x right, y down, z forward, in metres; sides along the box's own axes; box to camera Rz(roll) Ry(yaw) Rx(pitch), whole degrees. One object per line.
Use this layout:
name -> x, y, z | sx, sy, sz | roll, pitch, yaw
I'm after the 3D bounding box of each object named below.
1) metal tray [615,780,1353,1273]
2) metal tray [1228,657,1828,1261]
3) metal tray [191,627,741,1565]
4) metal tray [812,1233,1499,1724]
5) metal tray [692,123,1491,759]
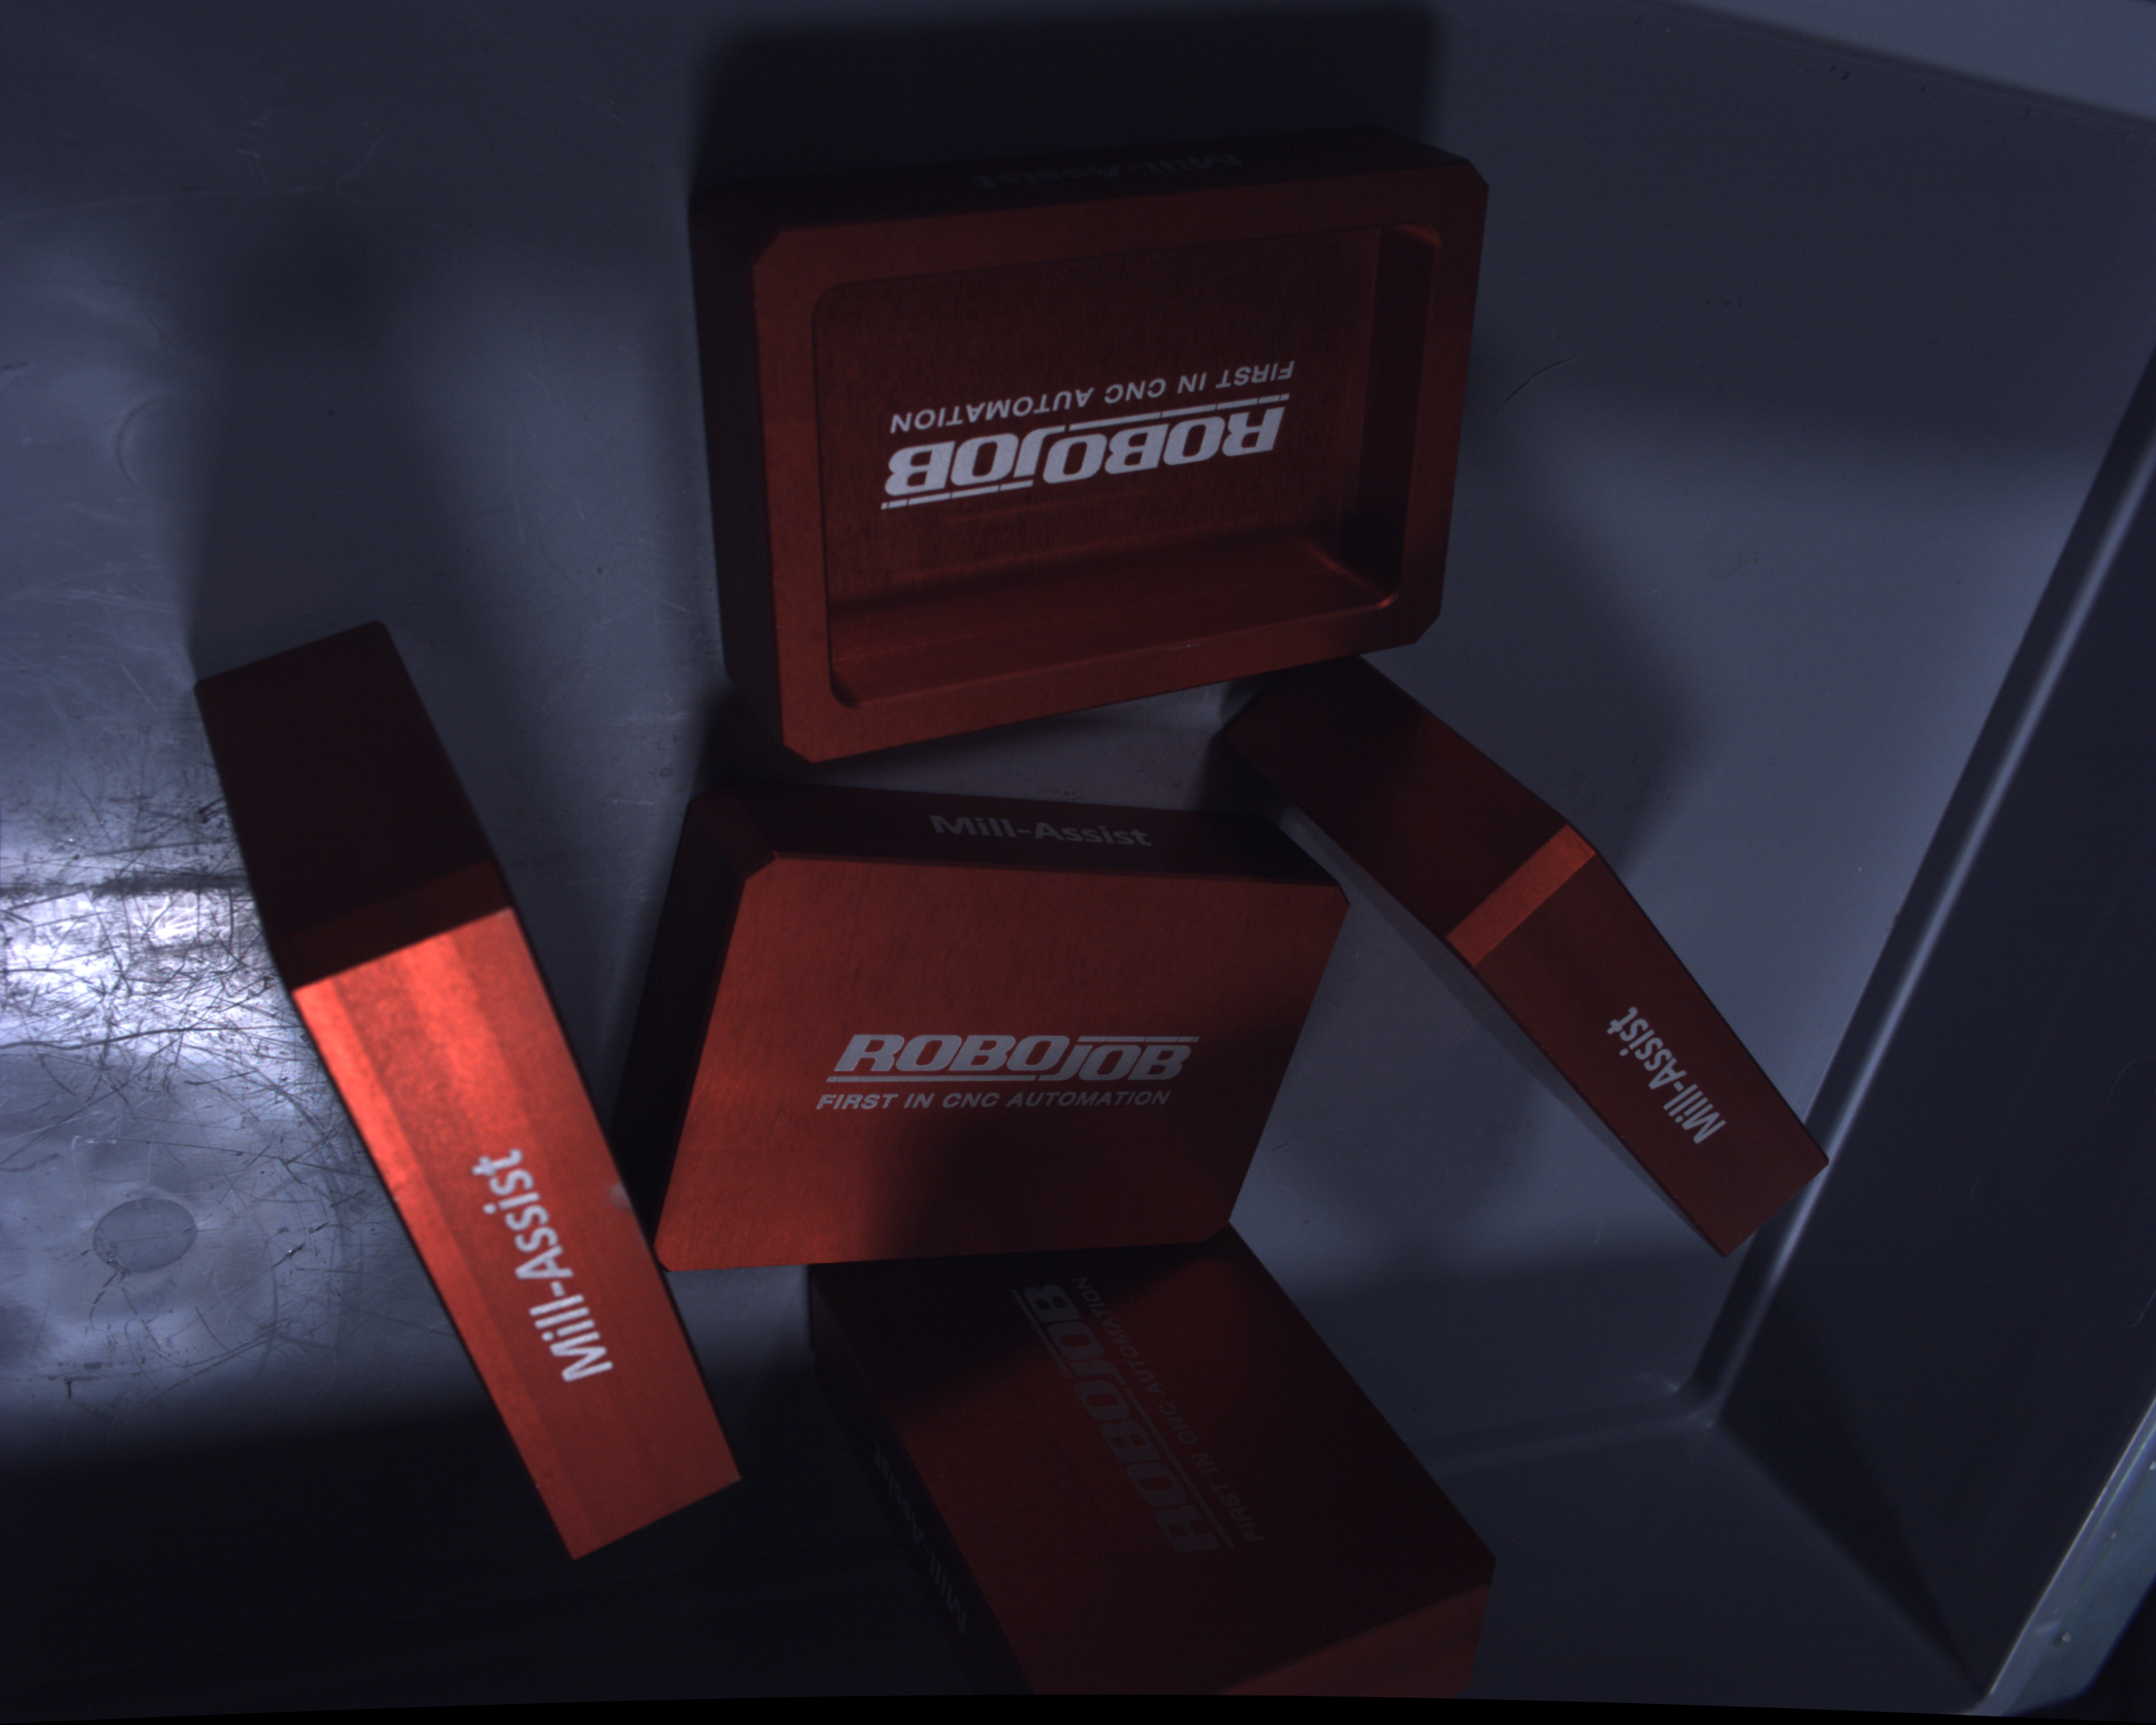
metal tray -> -0.018, 0.034, 0.414 | 0.131, 0.030, 0.089 | 3, 117, -30
metal tray -> 0.093, 0.019, 0.428 | 0.030, 0.090, 0.130 | -44, 130, 3
metal tray -> -0.097, 0.038, 0.335 | 0.030, 0.090, 0.129 | -23, 128, -16
metal tray -> 0.010, 0.121, 0.419 | 0.091, 0.130, 0.030 | -12, 124, -23
metal tray -> 0.004, -0.074, 0.361 | 0.131, 0.030, 0.089 | -13, 124, -22
